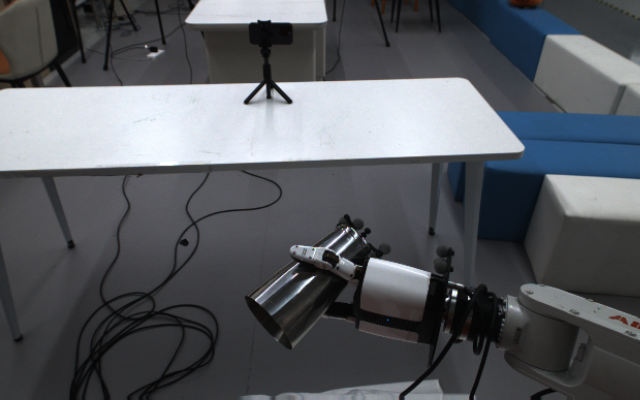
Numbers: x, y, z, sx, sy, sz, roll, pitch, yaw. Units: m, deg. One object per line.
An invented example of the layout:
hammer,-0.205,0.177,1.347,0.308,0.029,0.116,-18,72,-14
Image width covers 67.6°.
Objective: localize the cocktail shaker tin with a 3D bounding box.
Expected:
cocktail shaker tin,-0.008,0.105,0.664,0.170,0.093,0.093,-38,50,-24
